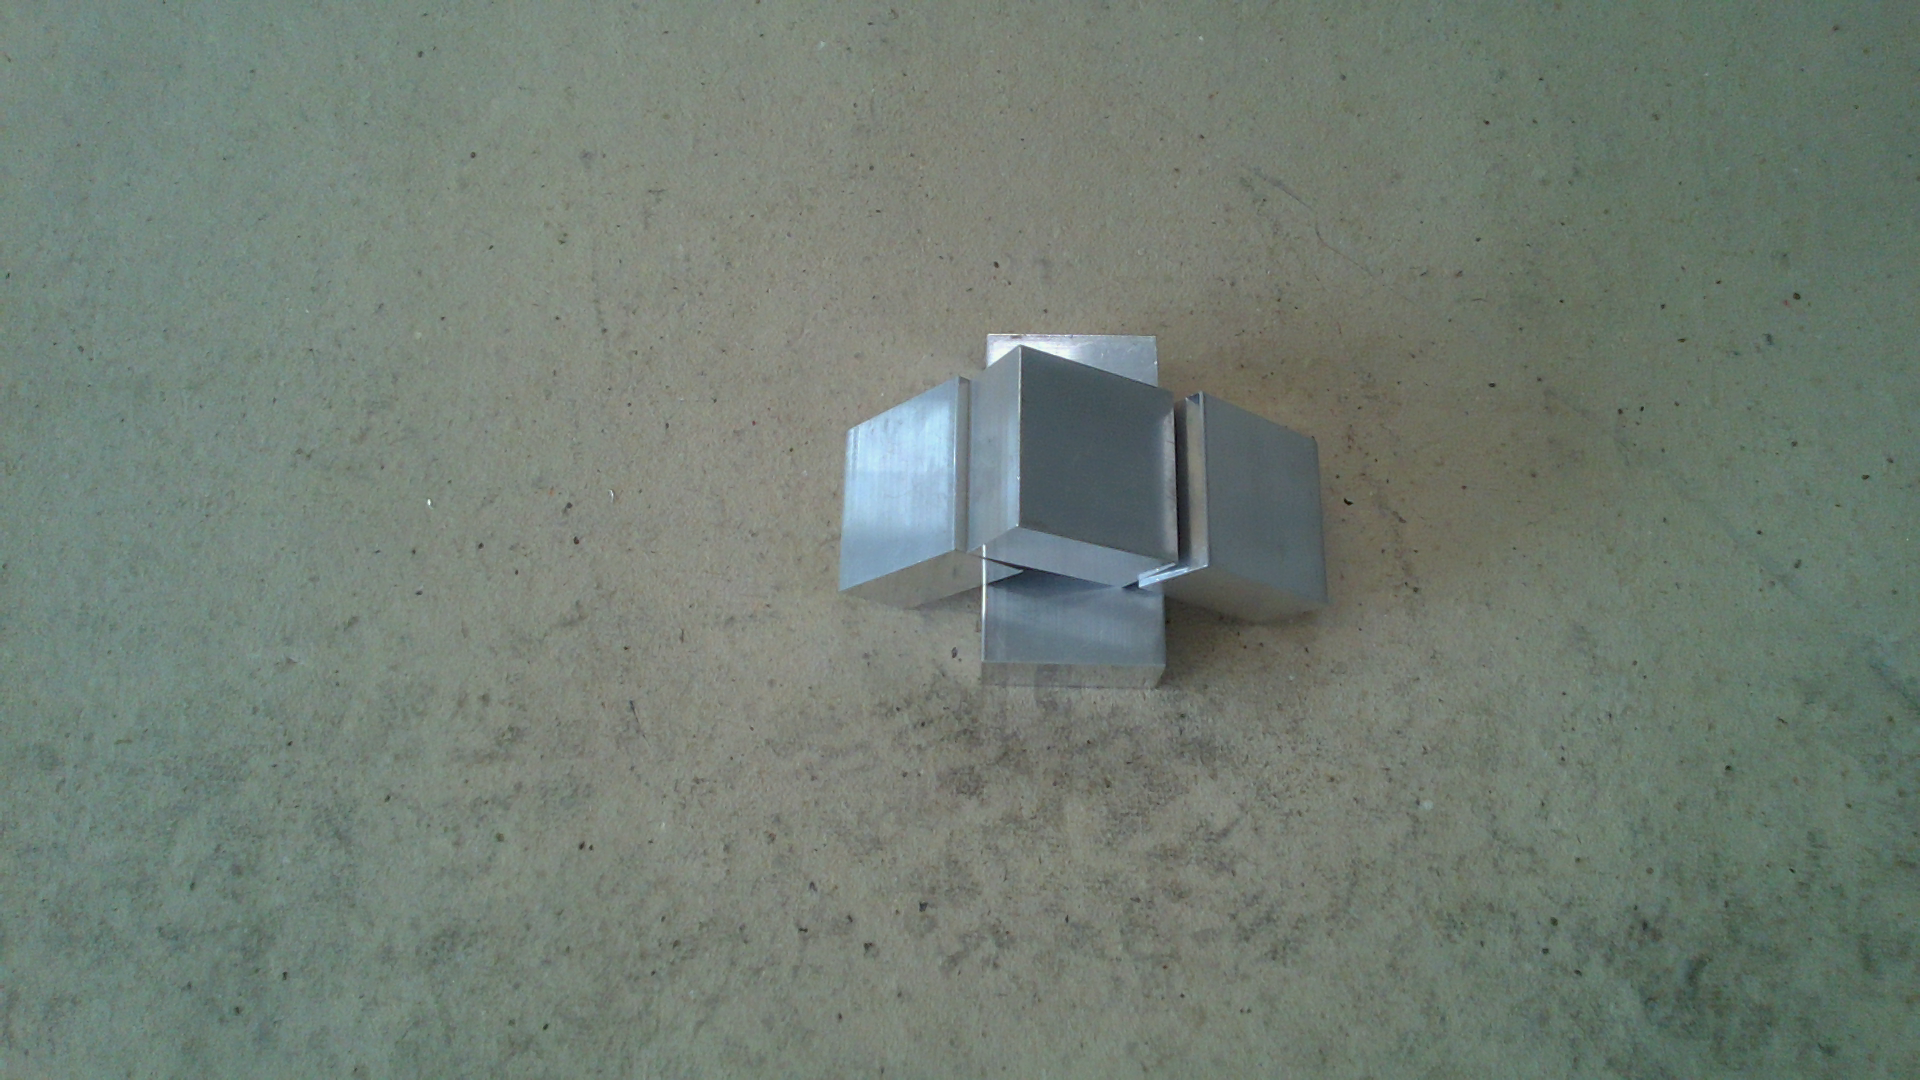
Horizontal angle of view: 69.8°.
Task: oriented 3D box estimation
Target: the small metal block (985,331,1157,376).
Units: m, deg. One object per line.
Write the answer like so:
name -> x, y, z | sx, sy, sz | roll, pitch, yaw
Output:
small metal block -> 0.032, -0.033, 0.407 | 0.050, 0.025, 0.050 | 1, 70, 0

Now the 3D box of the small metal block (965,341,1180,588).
small metal block -> 0.030, -0.019, 0.363 | 0.050, 0.025, 0.050 | 13, 67, -28

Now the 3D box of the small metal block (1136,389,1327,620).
small metal block -> 0.075, -0.008, 0.385 | 0.050, 0.025, 0.050 | 17, 65, -36

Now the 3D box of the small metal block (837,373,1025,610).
small metal block -> -0.008, -0.012, 0.385 | 0.025, 0.050, 0.050 | 18, 64, -39

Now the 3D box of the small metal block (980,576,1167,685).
small metal block -> 0.031, 0.014, 0.390 | 0.050, 0.025, 0.050 | 1, 70, 0
